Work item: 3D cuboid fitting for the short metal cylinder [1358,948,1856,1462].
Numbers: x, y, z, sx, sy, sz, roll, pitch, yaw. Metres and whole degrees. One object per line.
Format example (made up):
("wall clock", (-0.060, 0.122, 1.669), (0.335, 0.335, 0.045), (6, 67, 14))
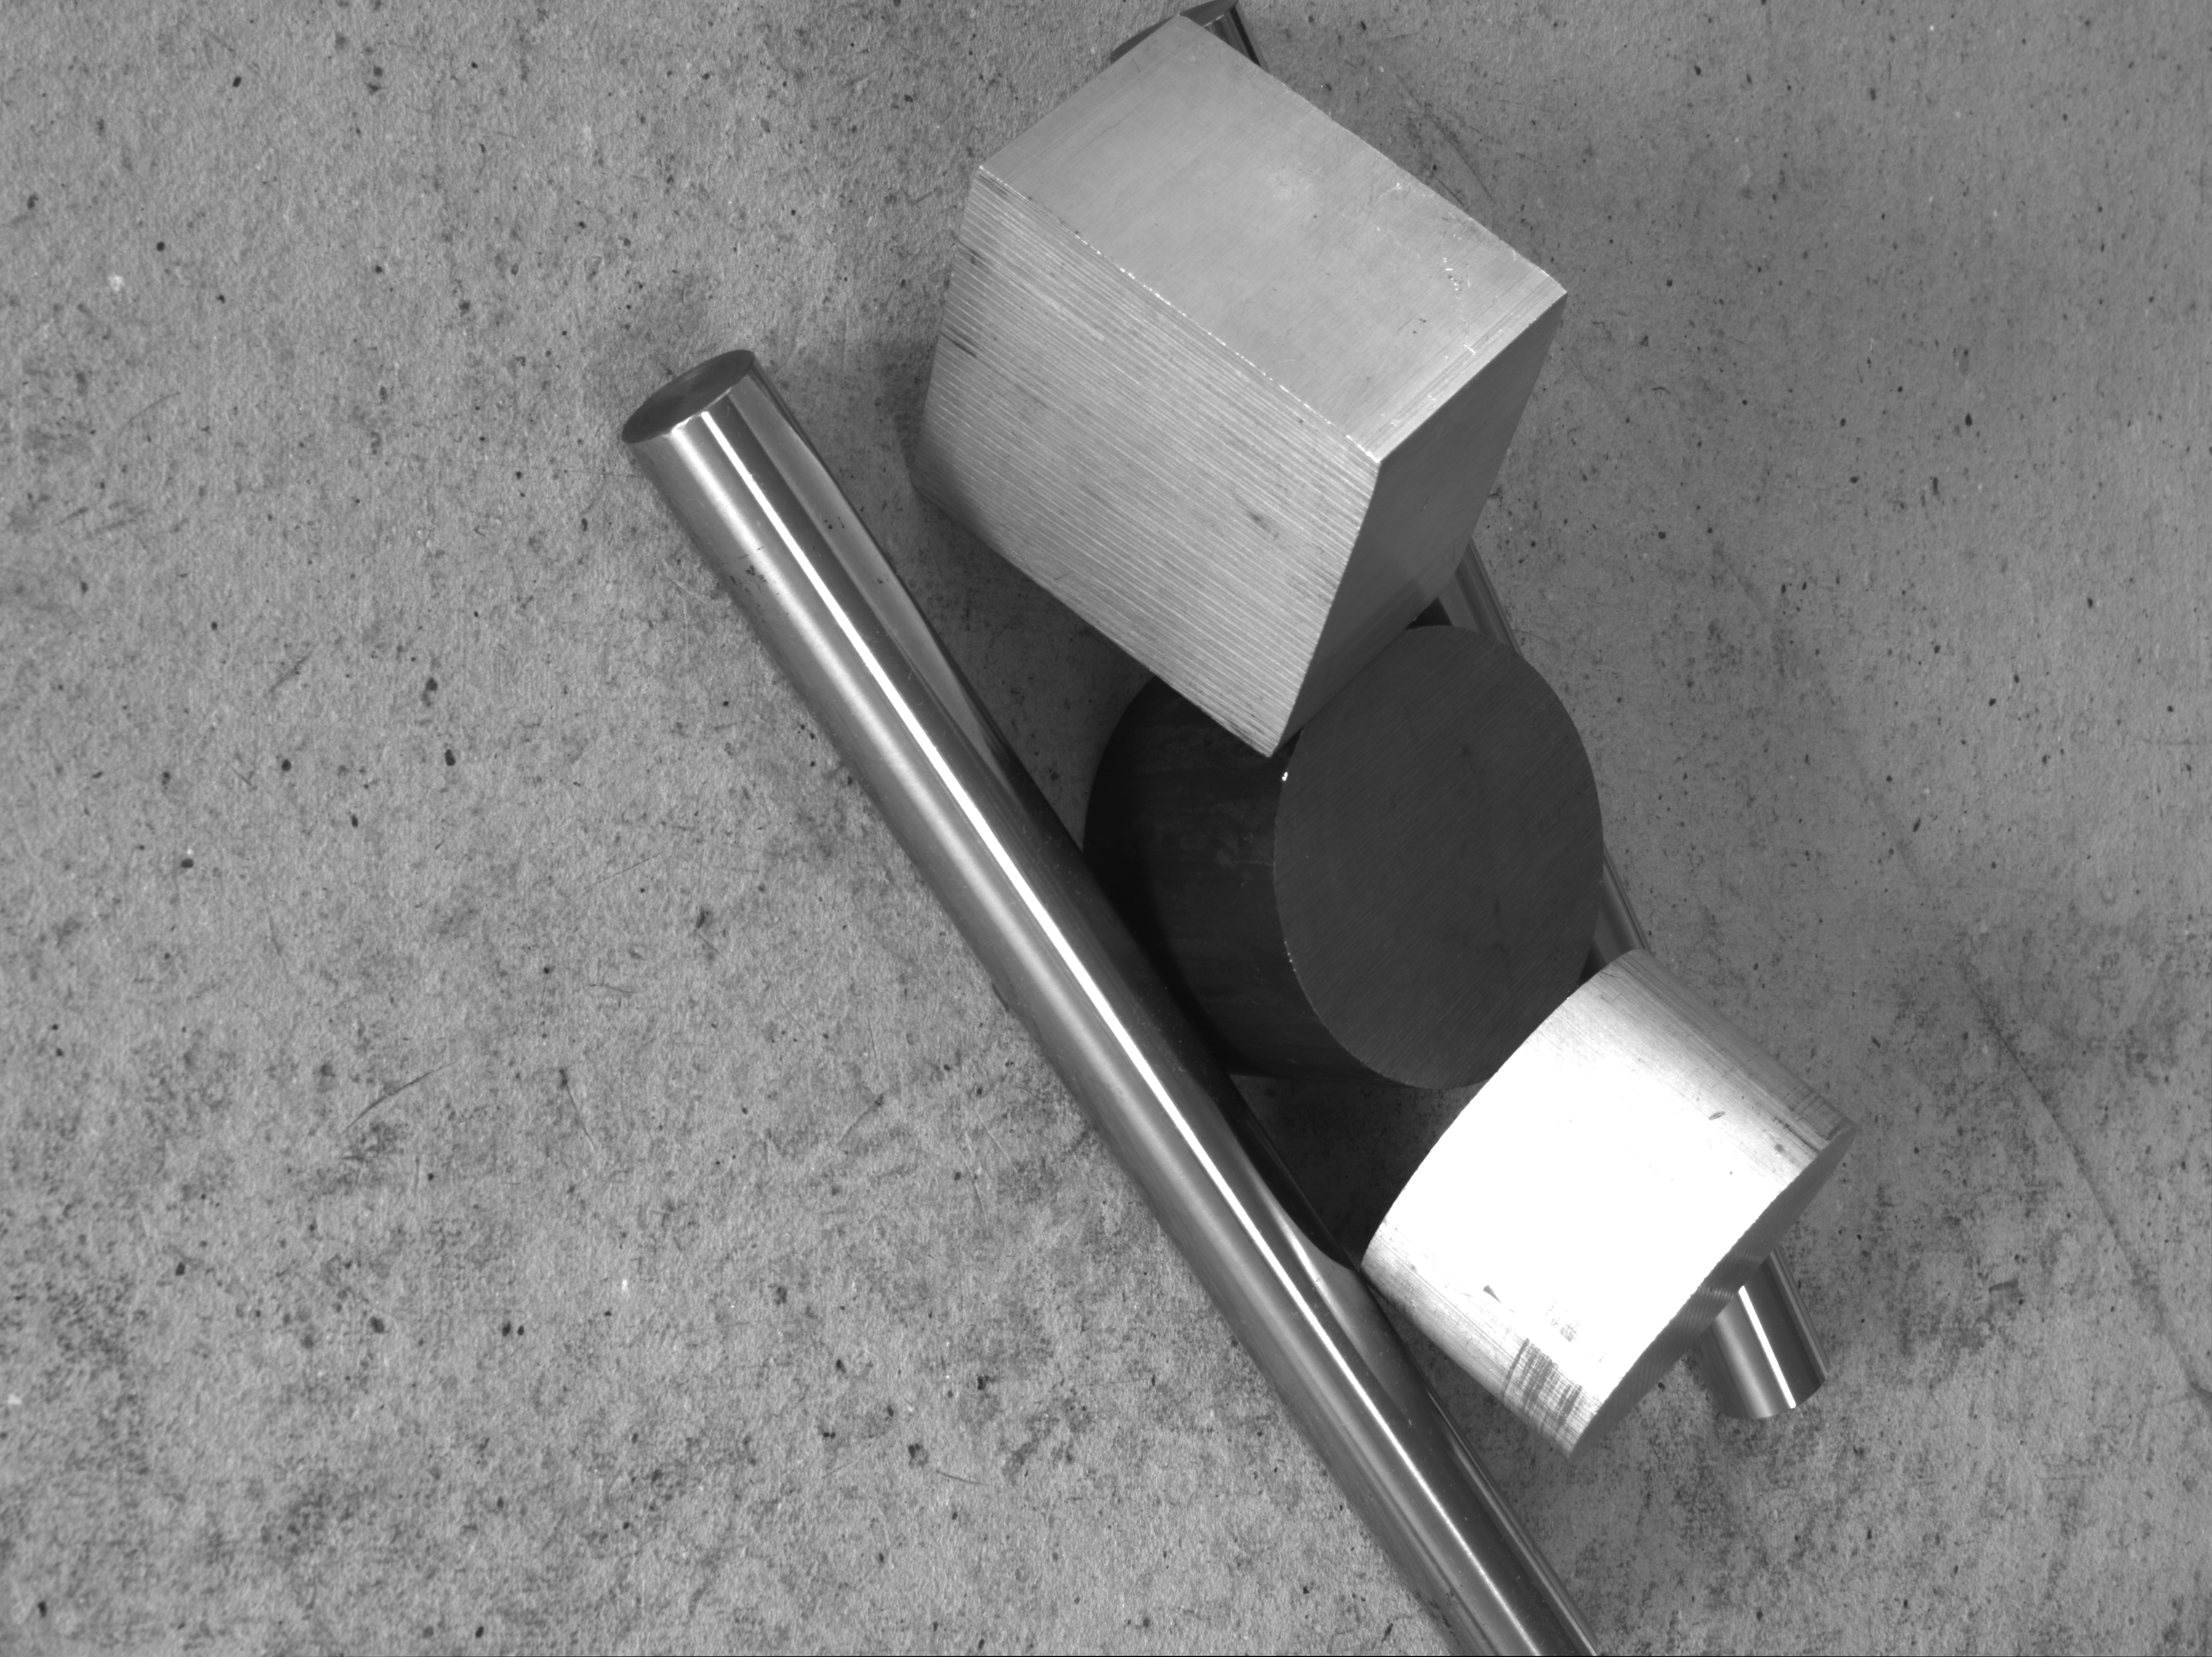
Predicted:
("short metal cylinder", (0.091, 0.069, 0.669), (0.050, 0.080, 0.080), (41, 55, 16))

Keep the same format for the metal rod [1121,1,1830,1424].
("metal rod", (0.074, -0.014, 0.697), (0.025, 0.025, 0.300), (-39, 114, -33))

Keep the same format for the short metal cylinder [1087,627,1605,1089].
("short metal cylinder", (0.043, 0.005, 0.656), (0.080, 0.050, 0.080), (0, 90, -40))

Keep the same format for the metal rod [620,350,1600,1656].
("metal rod", (0.009, 0.046, 0.643), (0.025, 0.025, 0.301), (-48, 118, -29))

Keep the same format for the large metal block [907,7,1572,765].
("large metal block", (0.019, -0.071, 0.597), (0.080, 0.080, 0.050), (38, 58, 13))
